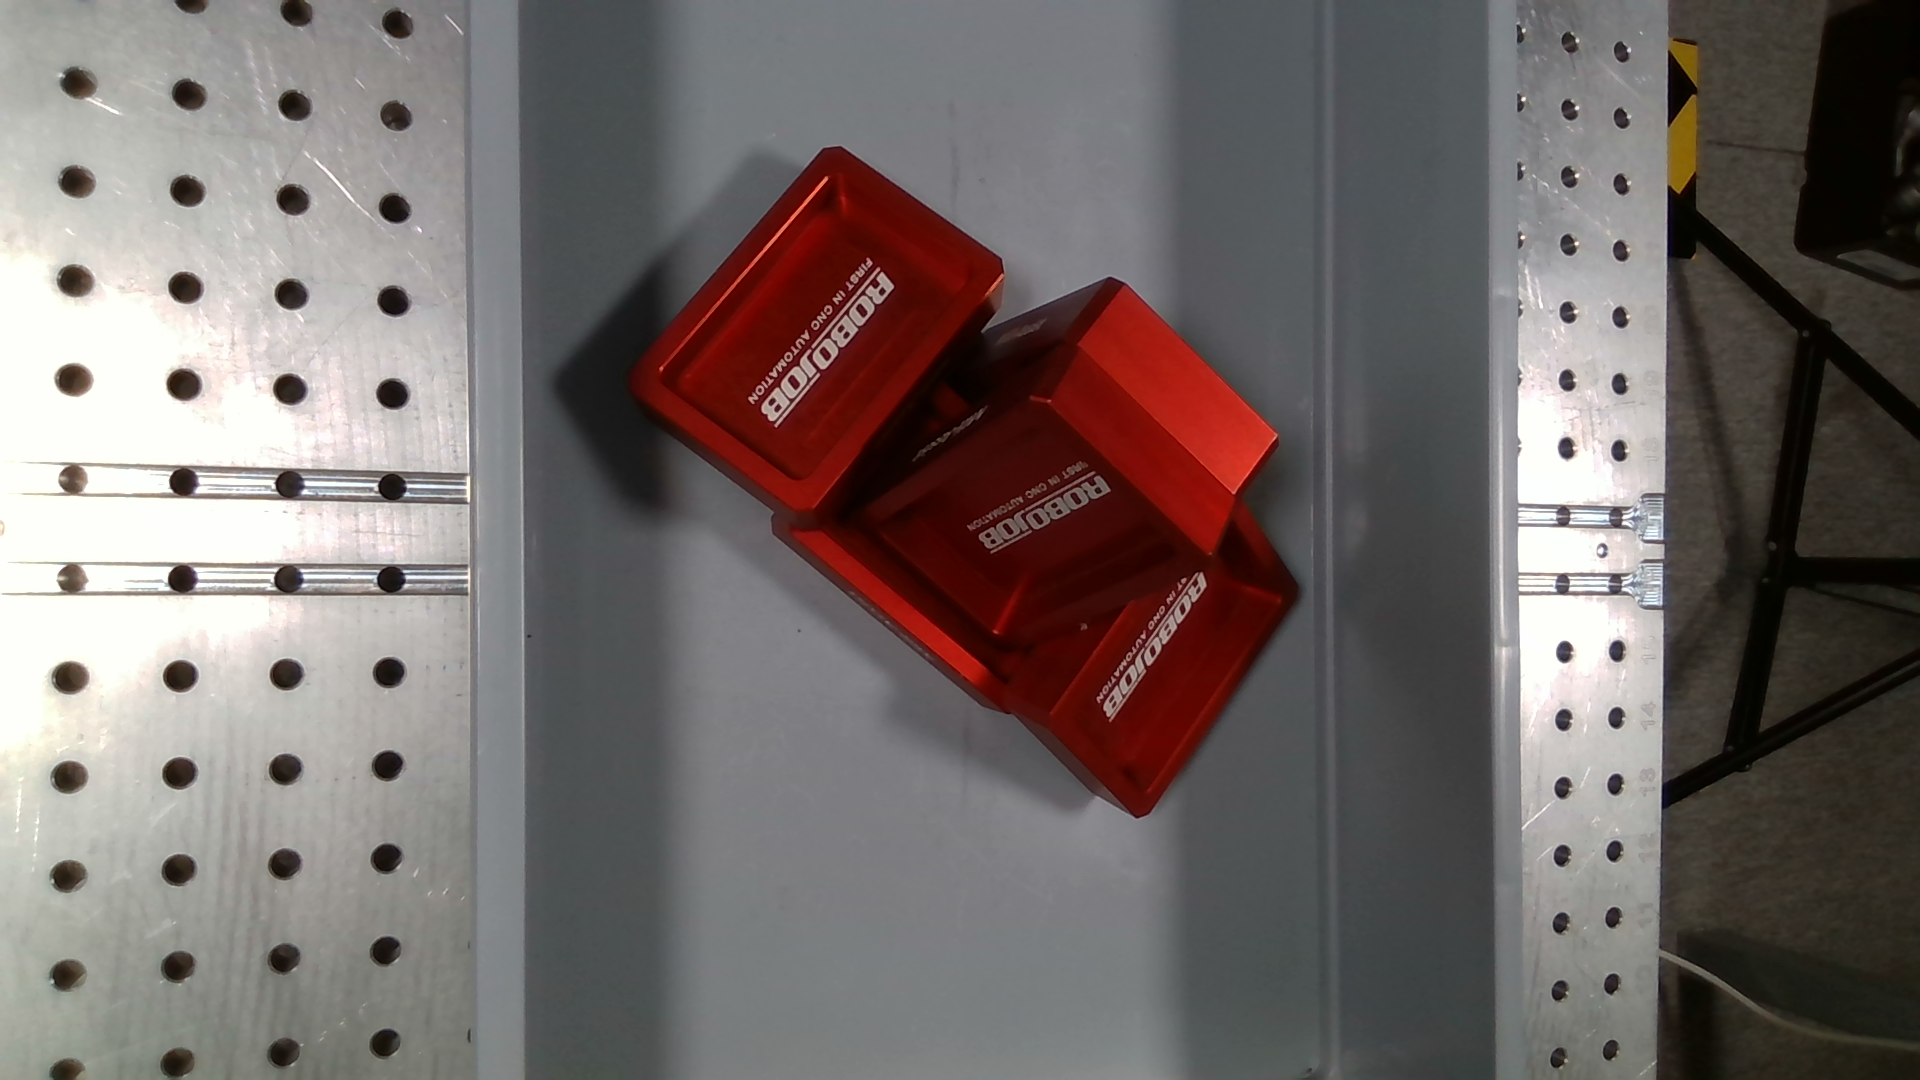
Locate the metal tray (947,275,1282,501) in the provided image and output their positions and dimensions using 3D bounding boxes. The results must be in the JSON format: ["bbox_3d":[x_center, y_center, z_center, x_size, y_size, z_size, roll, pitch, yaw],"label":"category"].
[{"bbox_3d":[0.057,-0.053,0.548,0.090,0.130,0.030,42,76,-15],"label":"metal tray"}]

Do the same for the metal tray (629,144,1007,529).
[{"bbox_3d":[-0.054,-0.081,0.543,0.090,0.030,0.130,36,77,8],"label":"metal tray"}]

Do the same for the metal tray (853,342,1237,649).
[{"bbox_3d":[0.029,-0.011,0.526,0.090,0.130,0.030,42,53,-16],"label":"metal tray"}]

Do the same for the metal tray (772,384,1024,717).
[{"bbox_3d":[-0.002,0.001,0.580,0.130,0.030,0.090,41,77,-16],"label":"metal tray"}]

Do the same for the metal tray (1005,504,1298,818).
[{"bbox_3d":[0.086,0.044,0.595,0.130,0.030,0.090,-53,132,-13],"label":"metal tray"}]
